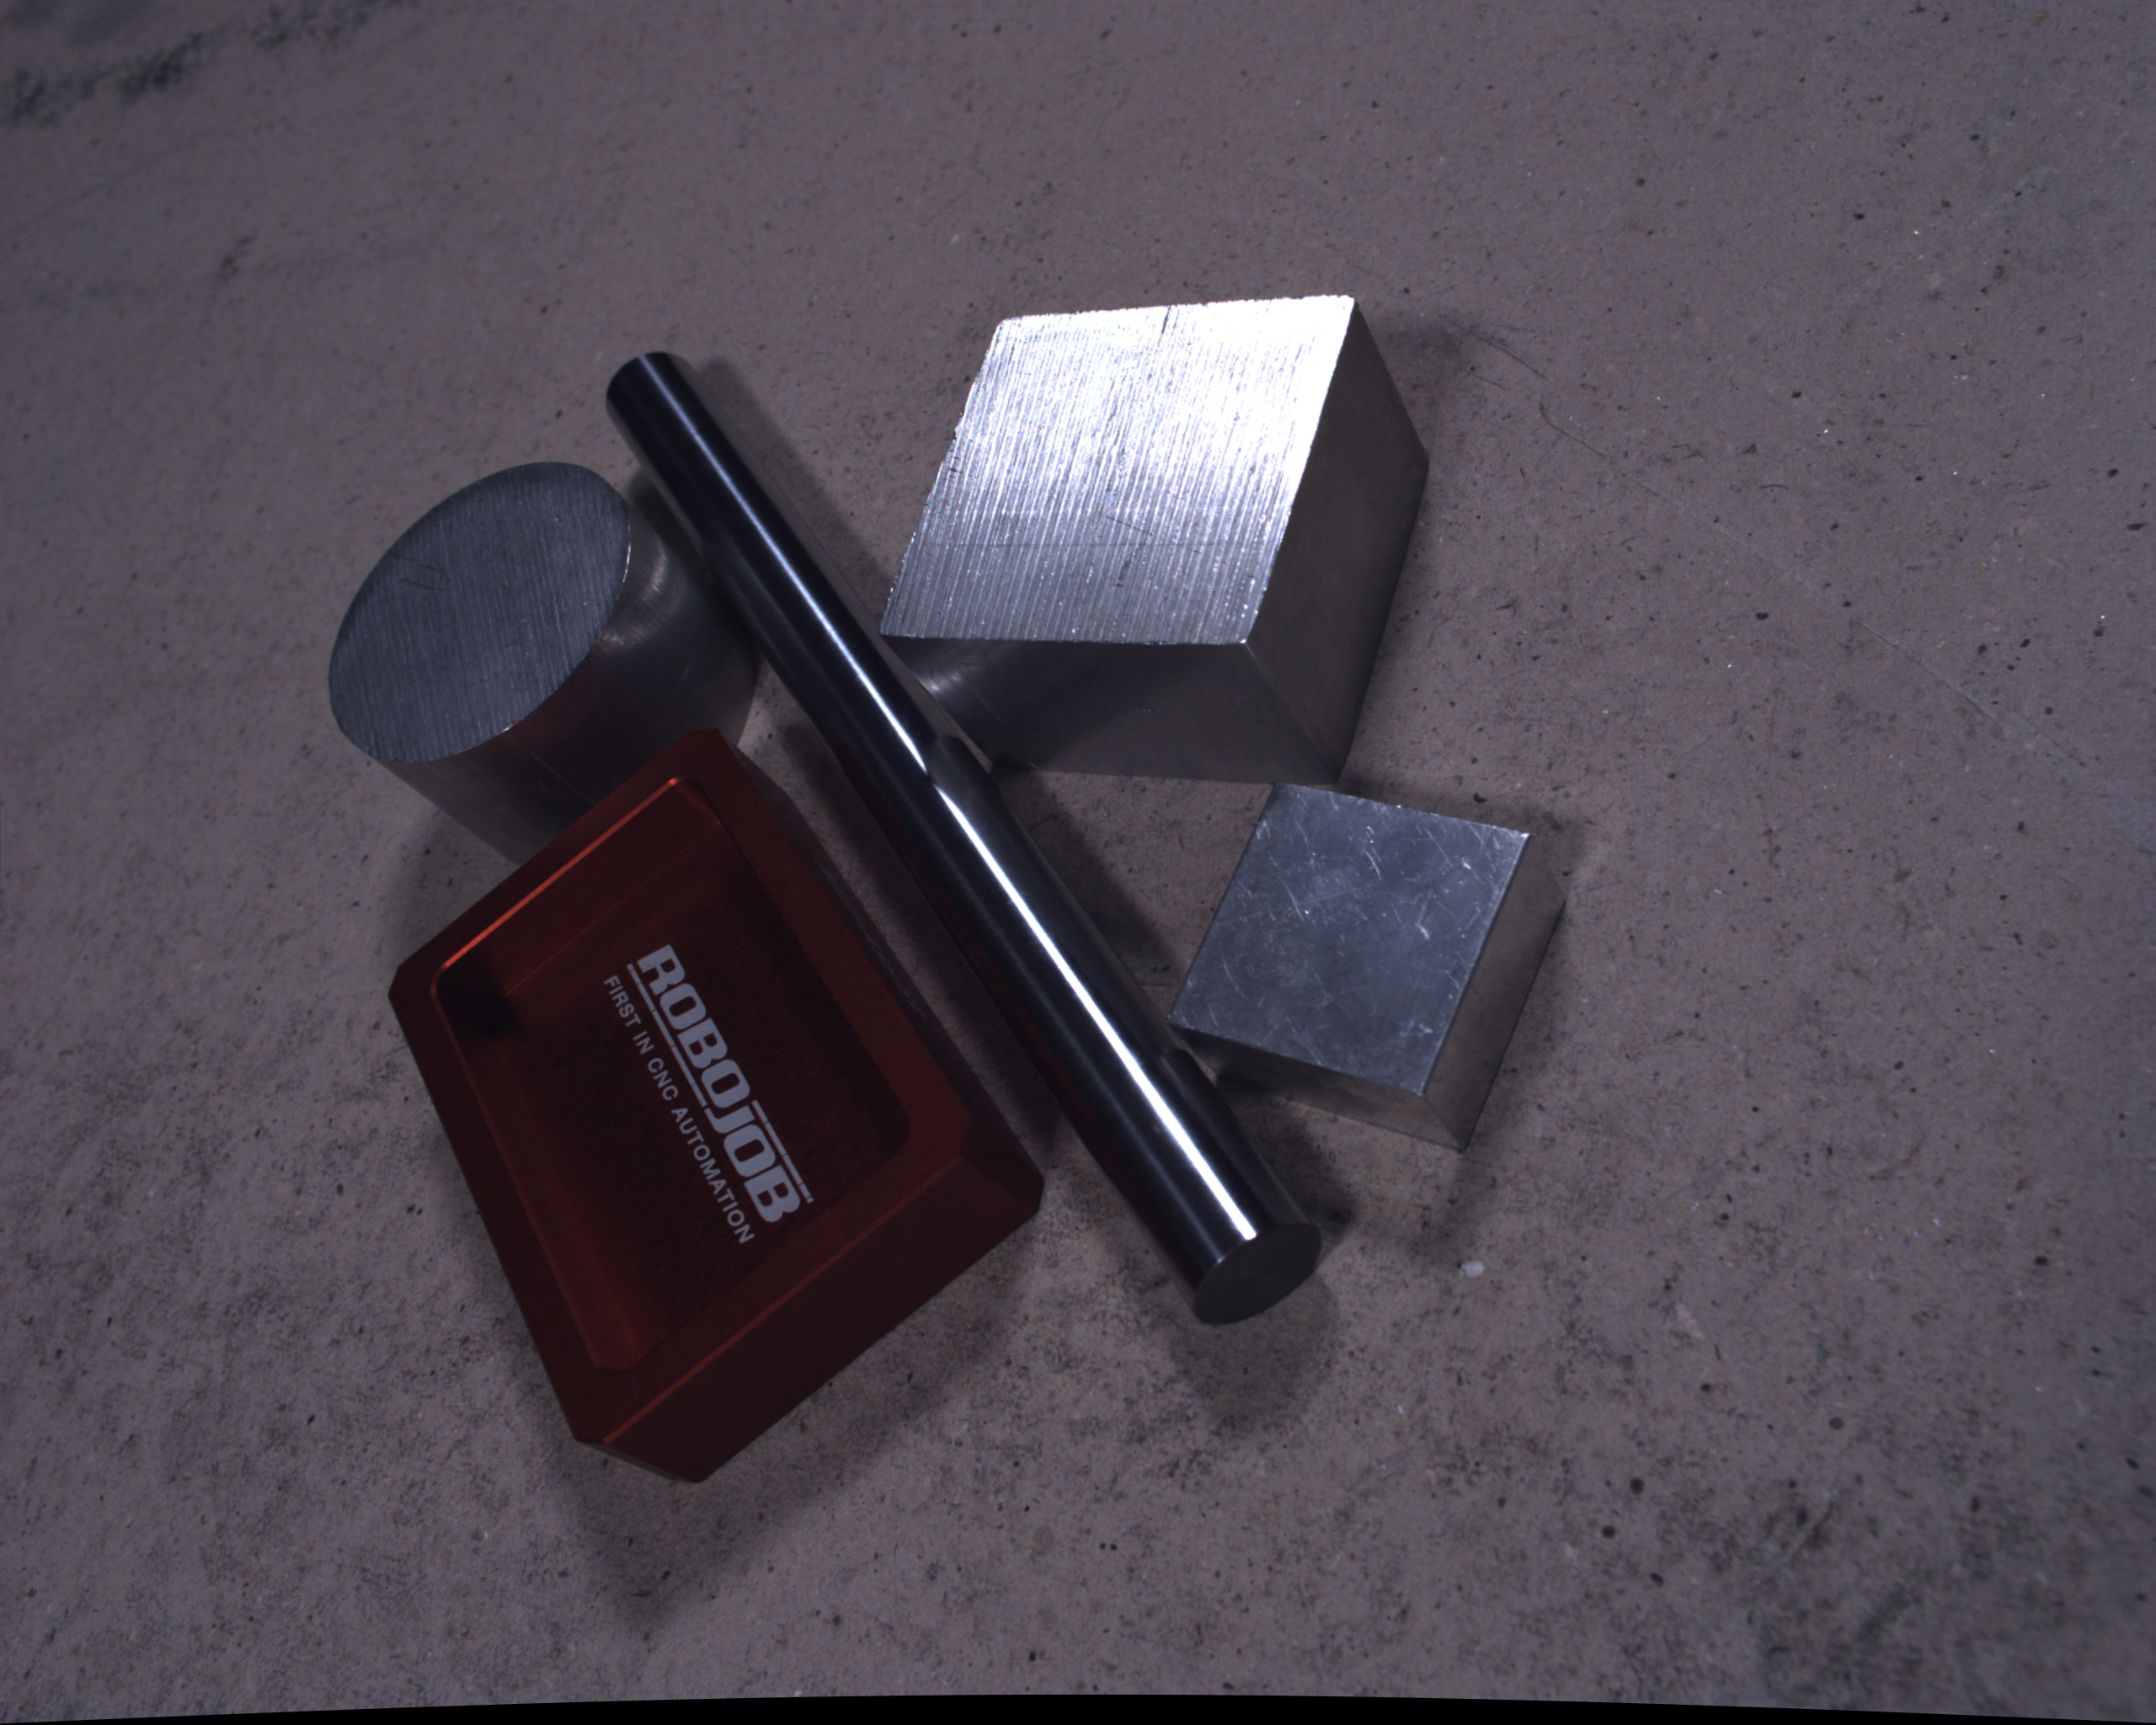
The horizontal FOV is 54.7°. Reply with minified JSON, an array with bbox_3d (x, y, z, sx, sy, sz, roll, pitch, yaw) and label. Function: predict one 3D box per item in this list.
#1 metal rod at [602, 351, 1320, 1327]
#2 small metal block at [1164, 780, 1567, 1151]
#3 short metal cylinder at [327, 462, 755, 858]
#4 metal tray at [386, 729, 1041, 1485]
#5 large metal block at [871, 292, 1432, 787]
[{"bbox_3d":[-0.040,-0.025,0.440,0.025,0.025,0.300,-38,51,2],"label":"metal rod"},{"bbox_3d":[0.051,0.017,0.368,0.050,0.025,0.050,14,69,33],"label":"small metal block"},{"bbox_3d":[-0.122,-0.045,0.479,0.080,0.050,0.080,-13,56,20],"label":"short metal cylinder"},{"bbox_3d":[-0.077,0.043,0.414,0.090,0.030,0.130,-39,51,1],"label":"metal tray"},{"bbox_3d":[0.017,-0.064,0.419,0.080,0.050,0.080,5,64,30],"label":"large metal block"}]
